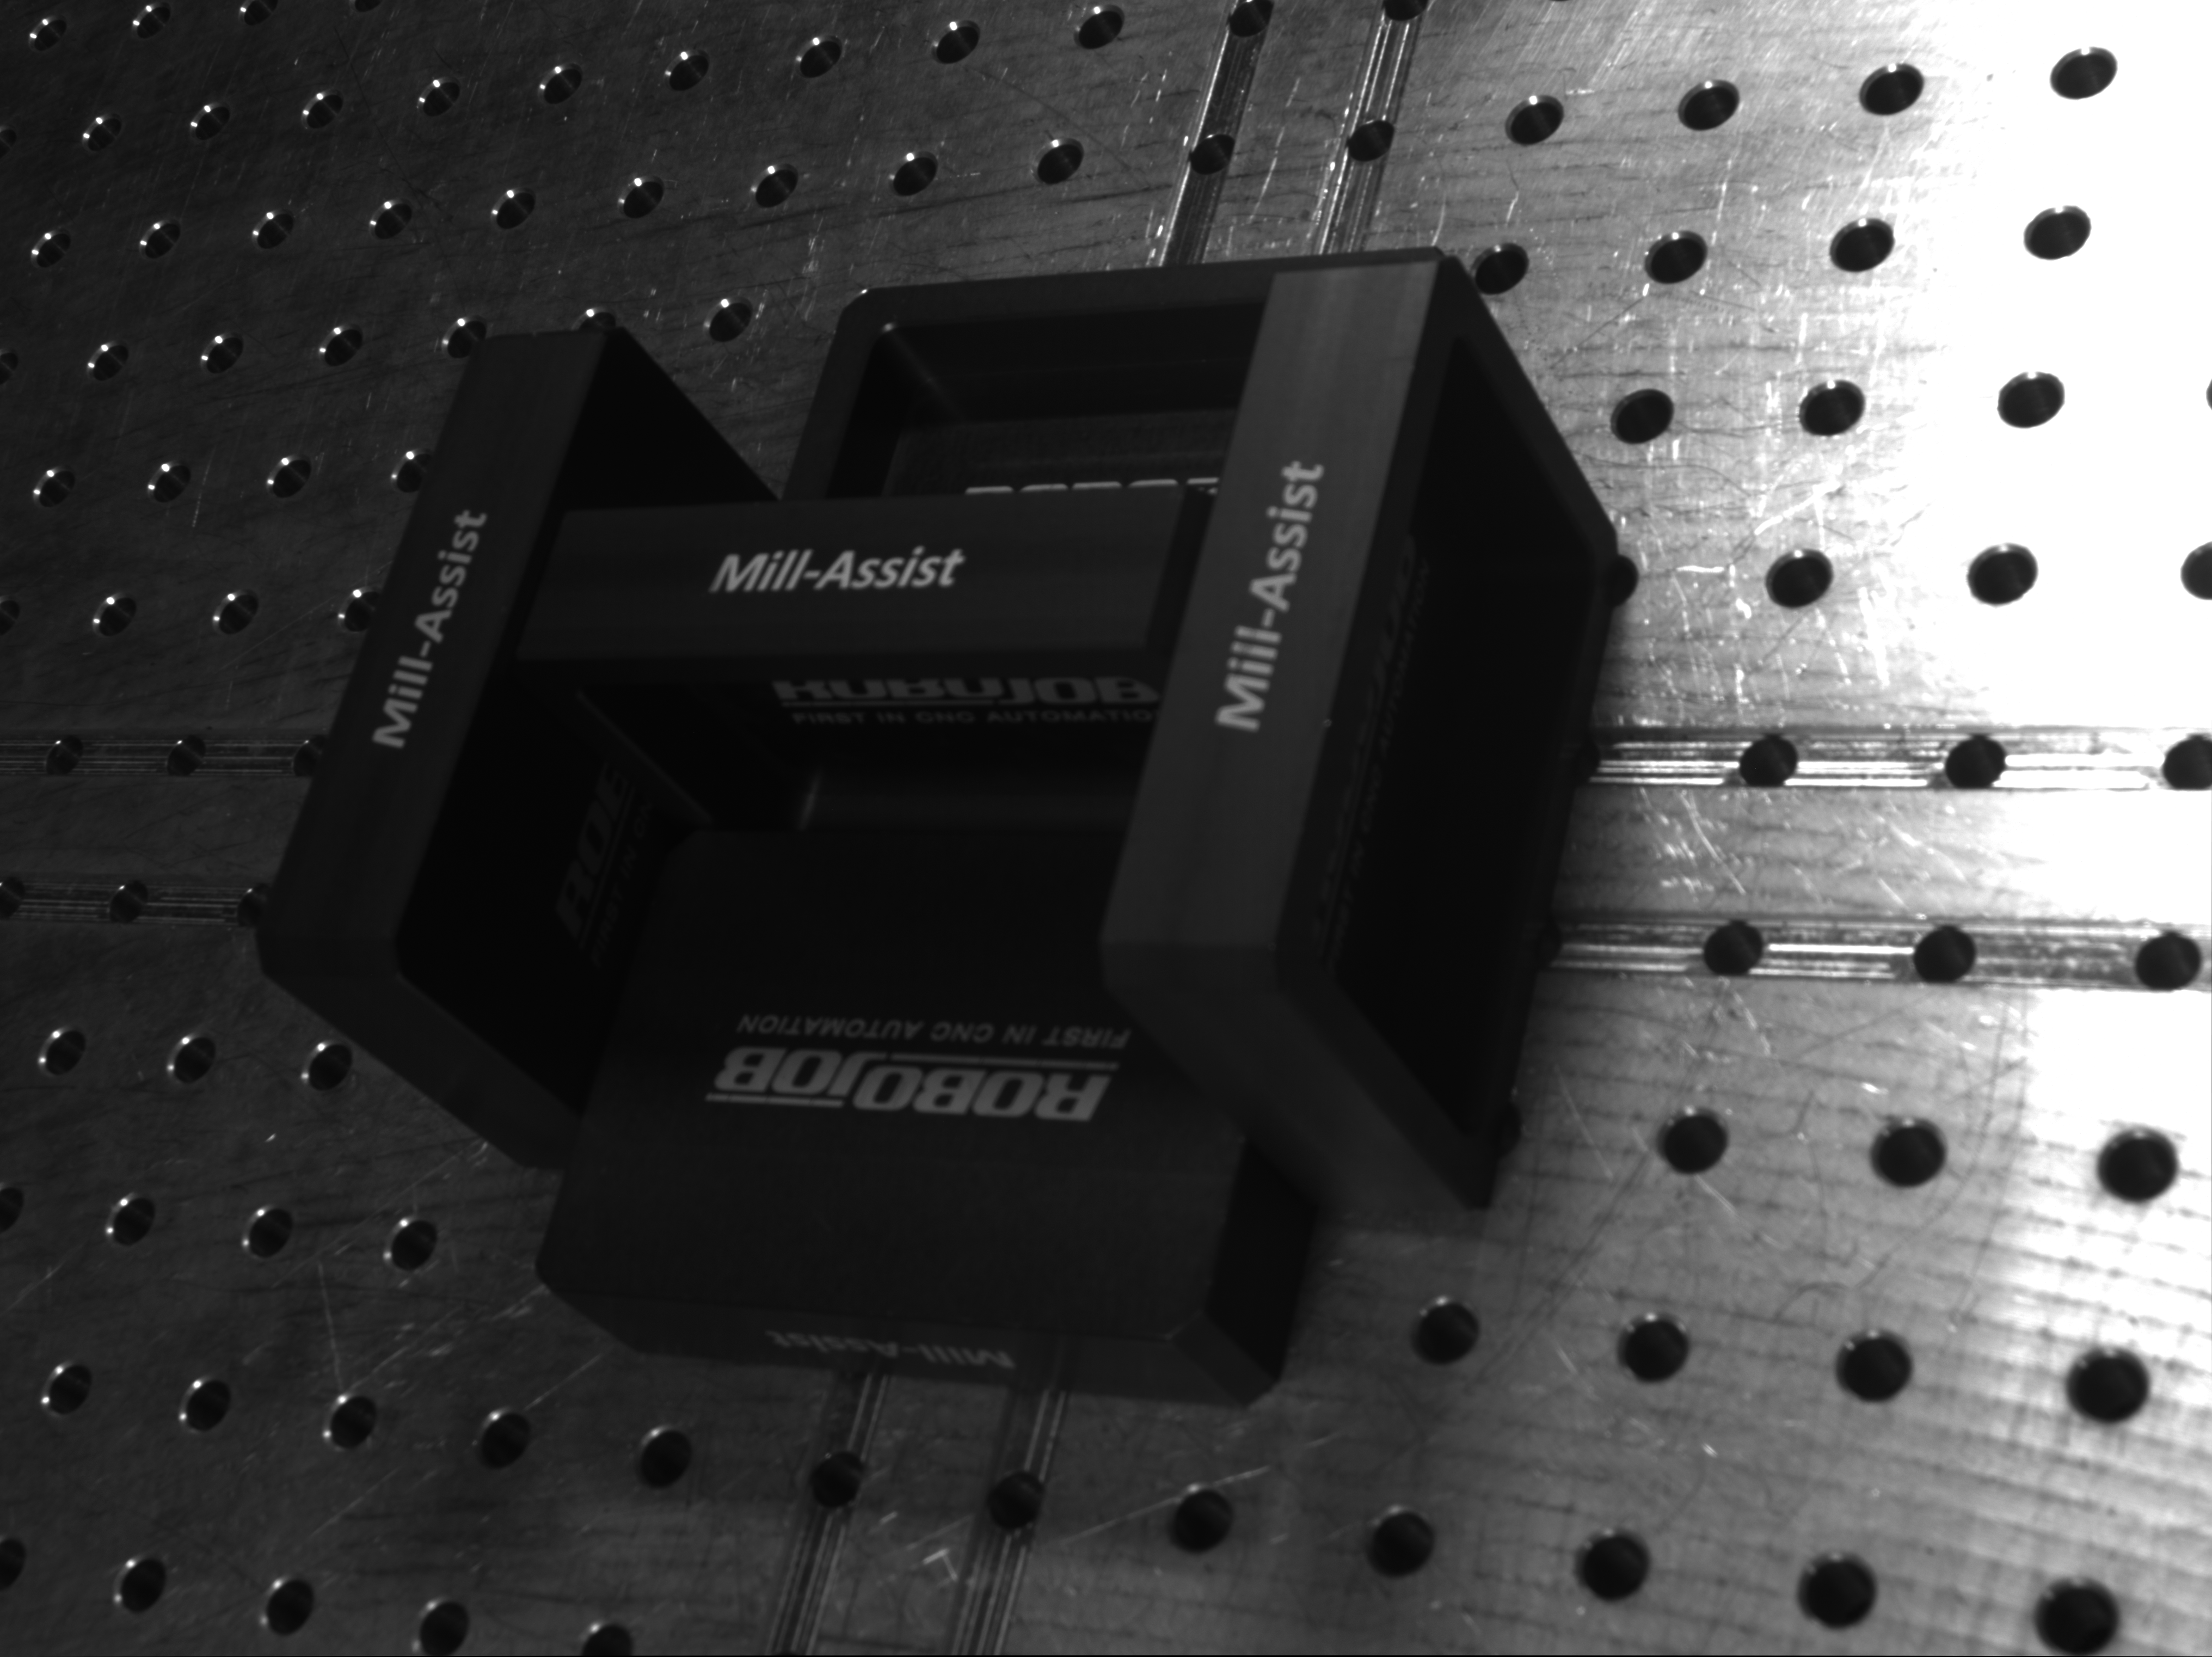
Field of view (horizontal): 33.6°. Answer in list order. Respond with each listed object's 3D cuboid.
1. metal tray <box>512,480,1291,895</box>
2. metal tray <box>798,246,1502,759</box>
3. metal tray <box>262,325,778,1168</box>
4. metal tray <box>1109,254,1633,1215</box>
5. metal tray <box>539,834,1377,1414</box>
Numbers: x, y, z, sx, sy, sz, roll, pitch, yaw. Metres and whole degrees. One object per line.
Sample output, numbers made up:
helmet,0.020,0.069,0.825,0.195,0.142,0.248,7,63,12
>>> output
metal tray,-0.024,-0.021,0.629,0.130,0.090,0.030,1,62,29
metal tray,0.004,-0.059,0.678,0.130,0.030,0.090,1,62,29
metal tray,-0.095,-0.014,0.664,0.030,0.090,0.130,1,62,29
metal tray,0.046,-0.015,0.589,0.030,0.090,0.130,1,62,29
metal tray,-0.025,0.048,0.627,0.130,0.030,0.090,1,62,29
